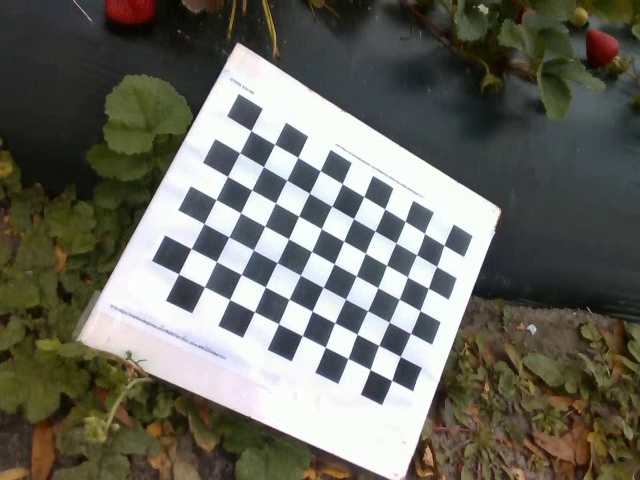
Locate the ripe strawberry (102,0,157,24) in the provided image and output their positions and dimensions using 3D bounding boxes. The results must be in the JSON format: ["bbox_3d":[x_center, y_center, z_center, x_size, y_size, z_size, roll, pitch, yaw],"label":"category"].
[{"bbox_3d":[-0.105,-0.129,0.343,0.028,0.033,0.022,41,-23,-6],"label":"ripe strawberry"}]
